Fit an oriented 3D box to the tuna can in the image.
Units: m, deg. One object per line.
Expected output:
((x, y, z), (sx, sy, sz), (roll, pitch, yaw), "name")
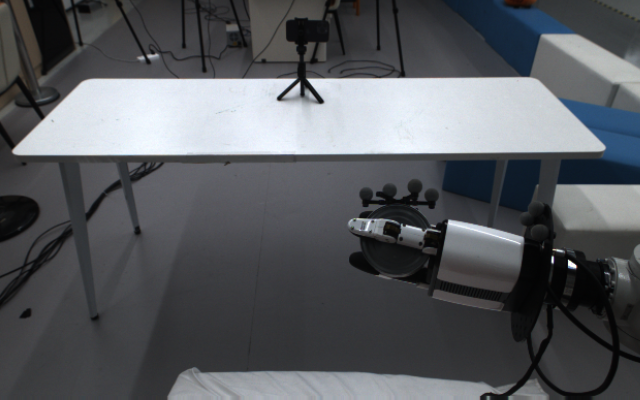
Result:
((0.095, 0.047, 0.582), (0.085, 0.034, 0.085), (-4, 72, 11), "tuna can")
